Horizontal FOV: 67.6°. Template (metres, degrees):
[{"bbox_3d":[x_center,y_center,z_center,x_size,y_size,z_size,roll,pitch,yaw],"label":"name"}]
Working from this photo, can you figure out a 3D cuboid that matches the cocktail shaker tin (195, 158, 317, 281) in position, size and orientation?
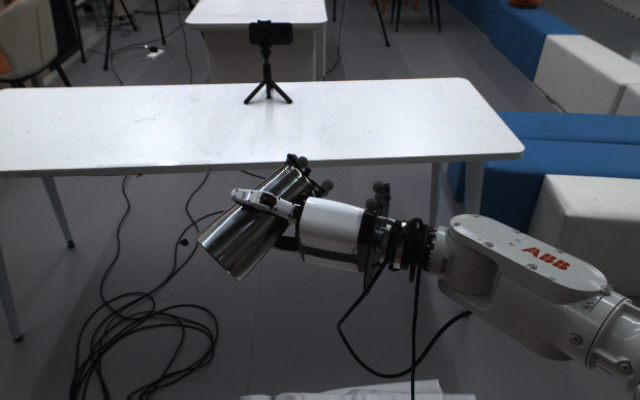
[{"bbox_3d":[-0.088,0.024,0.705,0.170,0.093,0.093,-43,50,-14],"label":"cocktail shaker tin"}]
